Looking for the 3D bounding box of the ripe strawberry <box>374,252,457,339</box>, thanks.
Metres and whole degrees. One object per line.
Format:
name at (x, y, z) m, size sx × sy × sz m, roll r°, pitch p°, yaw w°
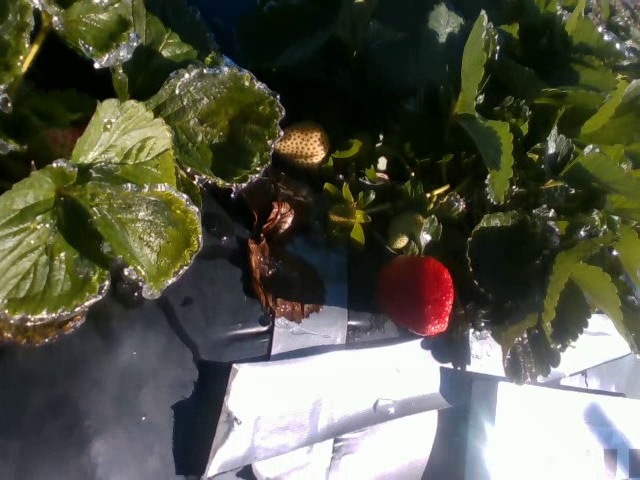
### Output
ripe strawberry at (0.066, 0.044, 0.369) m, size 0.057 × 0.062 × 0.065 m, roll -31°, pitch 27°, yaw 12°
